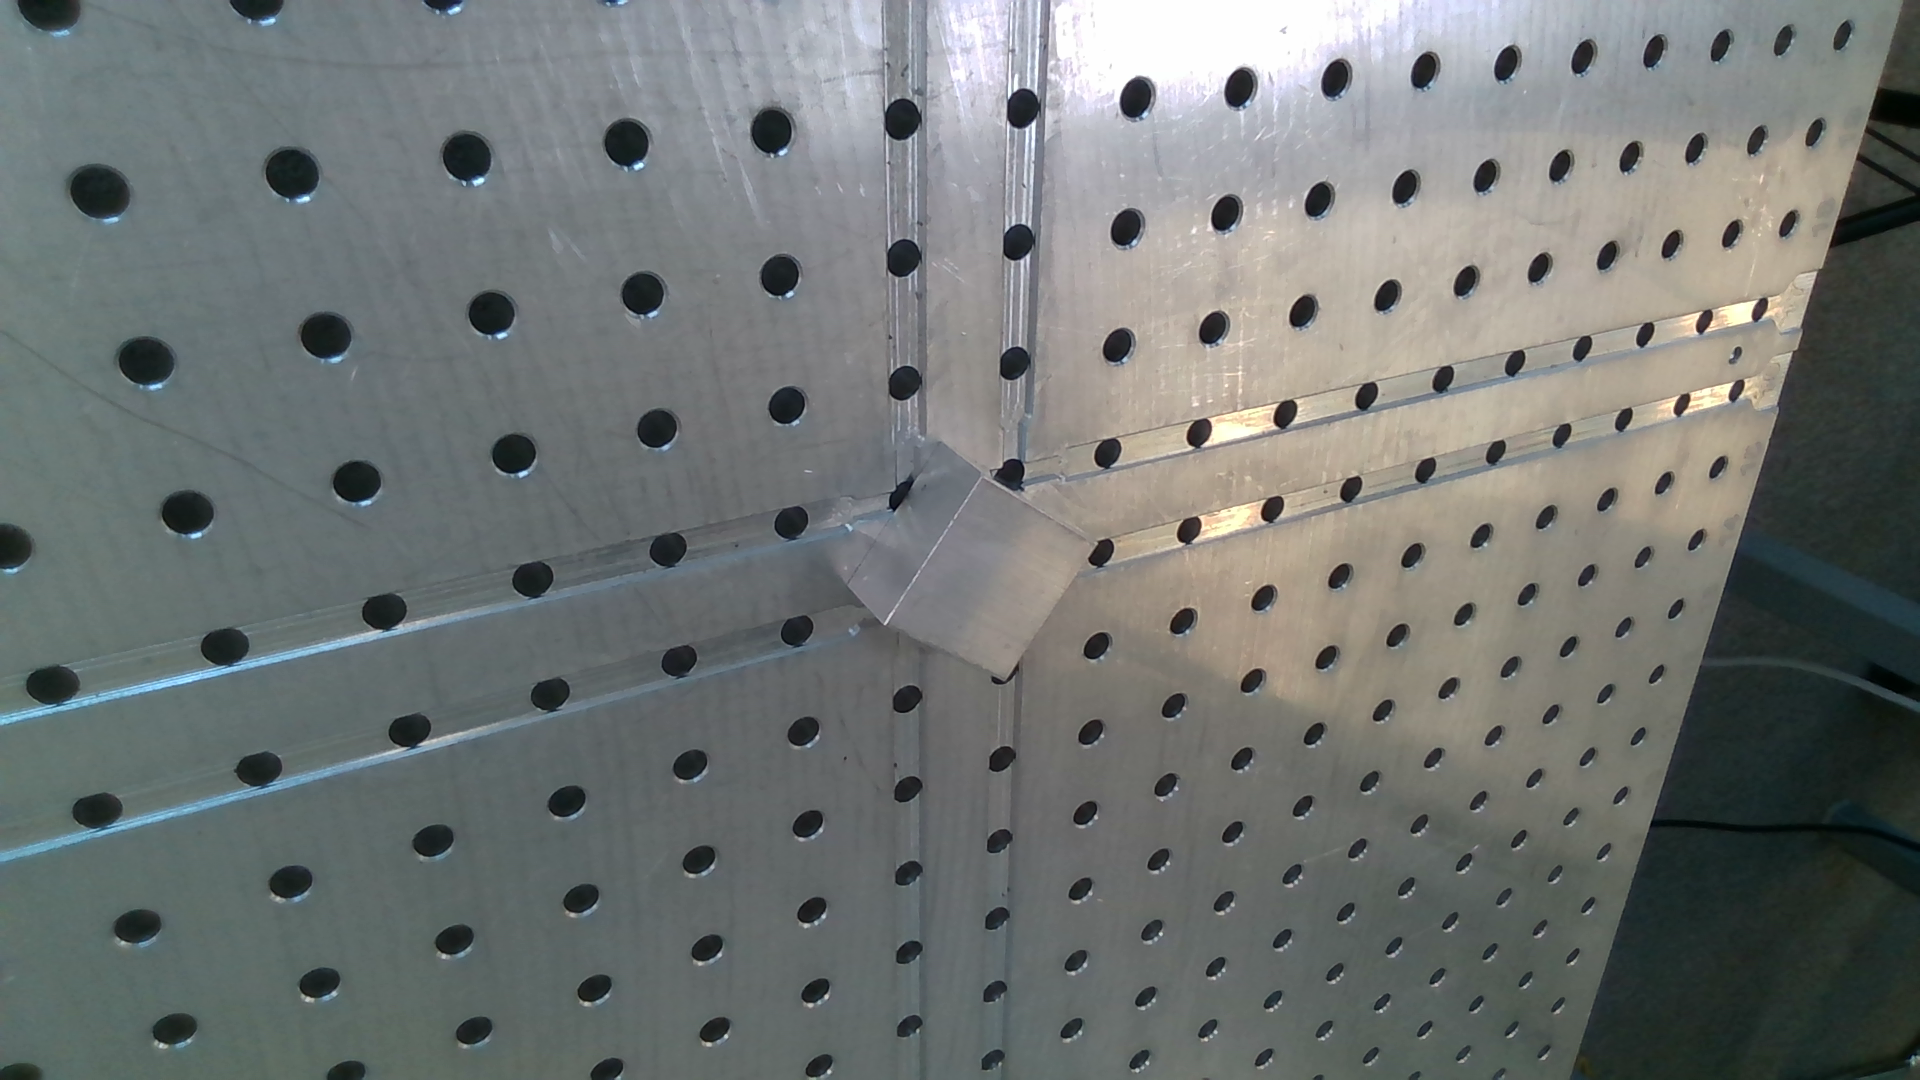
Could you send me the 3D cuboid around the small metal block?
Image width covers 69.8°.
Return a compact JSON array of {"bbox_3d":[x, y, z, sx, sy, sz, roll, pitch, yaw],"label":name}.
[{"bbox_3d":[0.003,0.006,0.398,0.050,0.025,0.050,28,99,-38],"label":"small metal block"}]
